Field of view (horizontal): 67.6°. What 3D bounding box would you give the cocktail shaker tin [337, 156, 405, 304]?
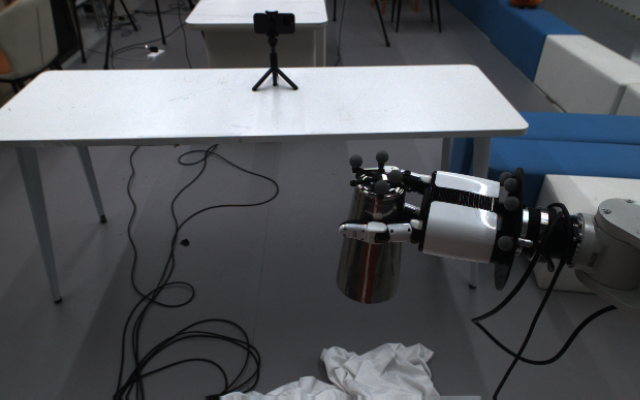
[{"bbox_3d":[0.077,0.046,0.676,0.093,0.170,0.093,2,33,-2],"label":"cocktail shaker tin"}]
